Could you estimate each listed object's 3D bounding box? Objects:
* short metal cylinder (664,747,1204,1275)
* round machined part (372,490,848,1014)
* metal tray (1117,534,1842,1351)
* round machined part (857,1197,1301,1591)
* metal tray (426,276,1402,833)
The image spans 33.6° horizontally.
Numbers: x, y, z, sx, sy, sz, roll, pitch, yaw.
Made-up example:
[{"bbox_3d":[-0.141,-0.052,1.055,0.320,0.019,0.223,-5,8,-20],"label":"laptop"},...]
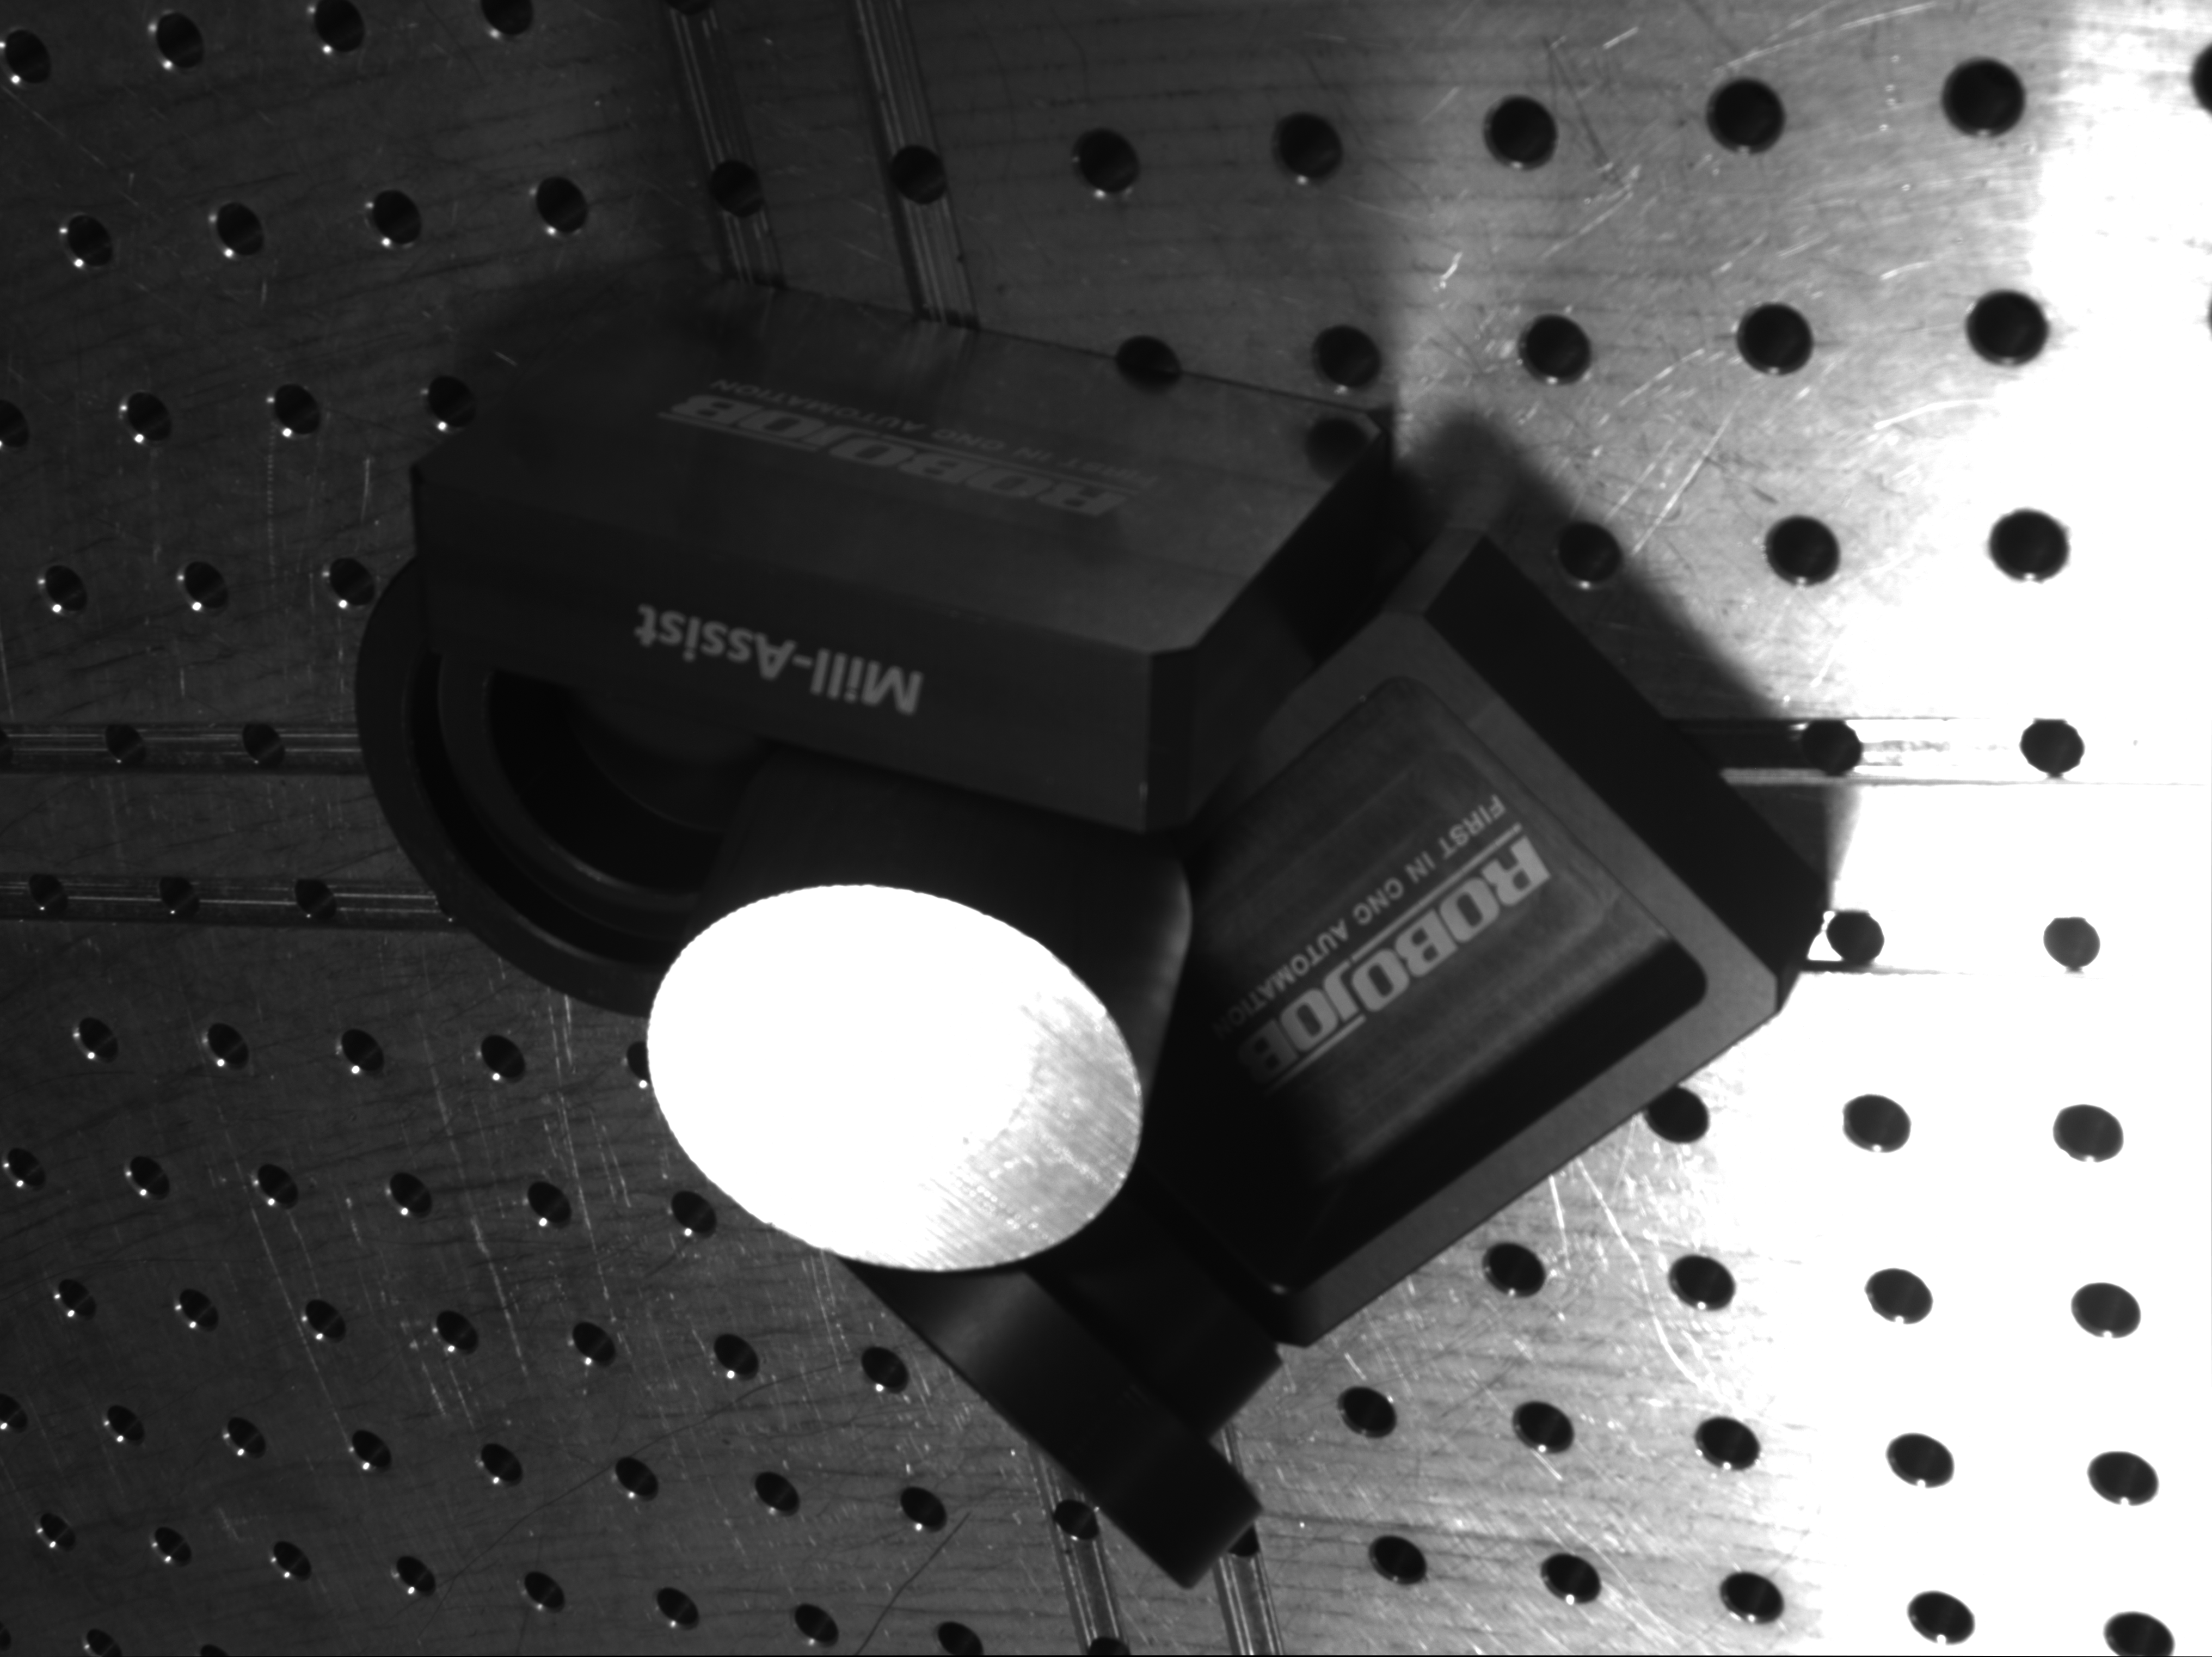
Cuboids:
[{"bbox_3d":[-0.027,0.026,0.600,0.080,0.050,0.080,6,127,8],"label":"short metal cylinder"},{"bbox_3d":[-0.078,-0.019,0.651,0.098,0.042,0.098,12,123,20],"label":"round machined part"},{"bbox_3d":[0.047,0.022,0.620,0.090,0.030,0.130,45,128,-4],"label":"metal tray"},{"bbox_3d":[-0.004,0.087,0.655,0.098,0.042,0.098,43,172,8],"label":"round machined part"},{"bbox_3d":[-0.029,-0.047,0.579,0.130,0.090,0.030,14,124,19],"label":"metal tray"}]
